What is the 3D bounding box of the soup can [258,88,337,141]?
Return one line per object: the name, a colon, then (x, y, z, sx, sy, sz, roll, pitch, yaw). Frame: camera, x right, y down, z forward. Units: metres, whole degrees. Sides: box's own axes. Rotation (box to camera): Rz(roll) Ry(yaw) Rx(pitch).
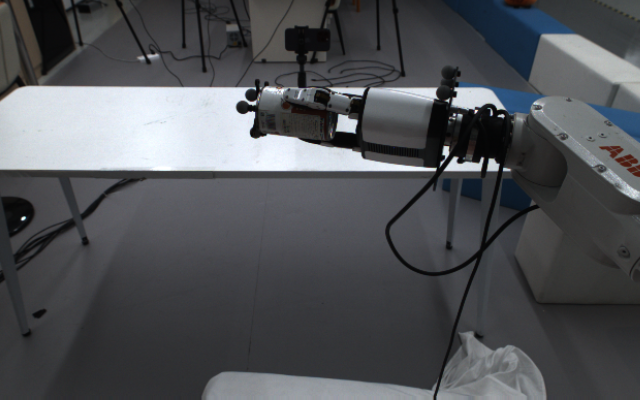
soup can: (-0.029, -0.119, 0.668, 0.101, 0.067, 0.067, 8, 35, 11)
